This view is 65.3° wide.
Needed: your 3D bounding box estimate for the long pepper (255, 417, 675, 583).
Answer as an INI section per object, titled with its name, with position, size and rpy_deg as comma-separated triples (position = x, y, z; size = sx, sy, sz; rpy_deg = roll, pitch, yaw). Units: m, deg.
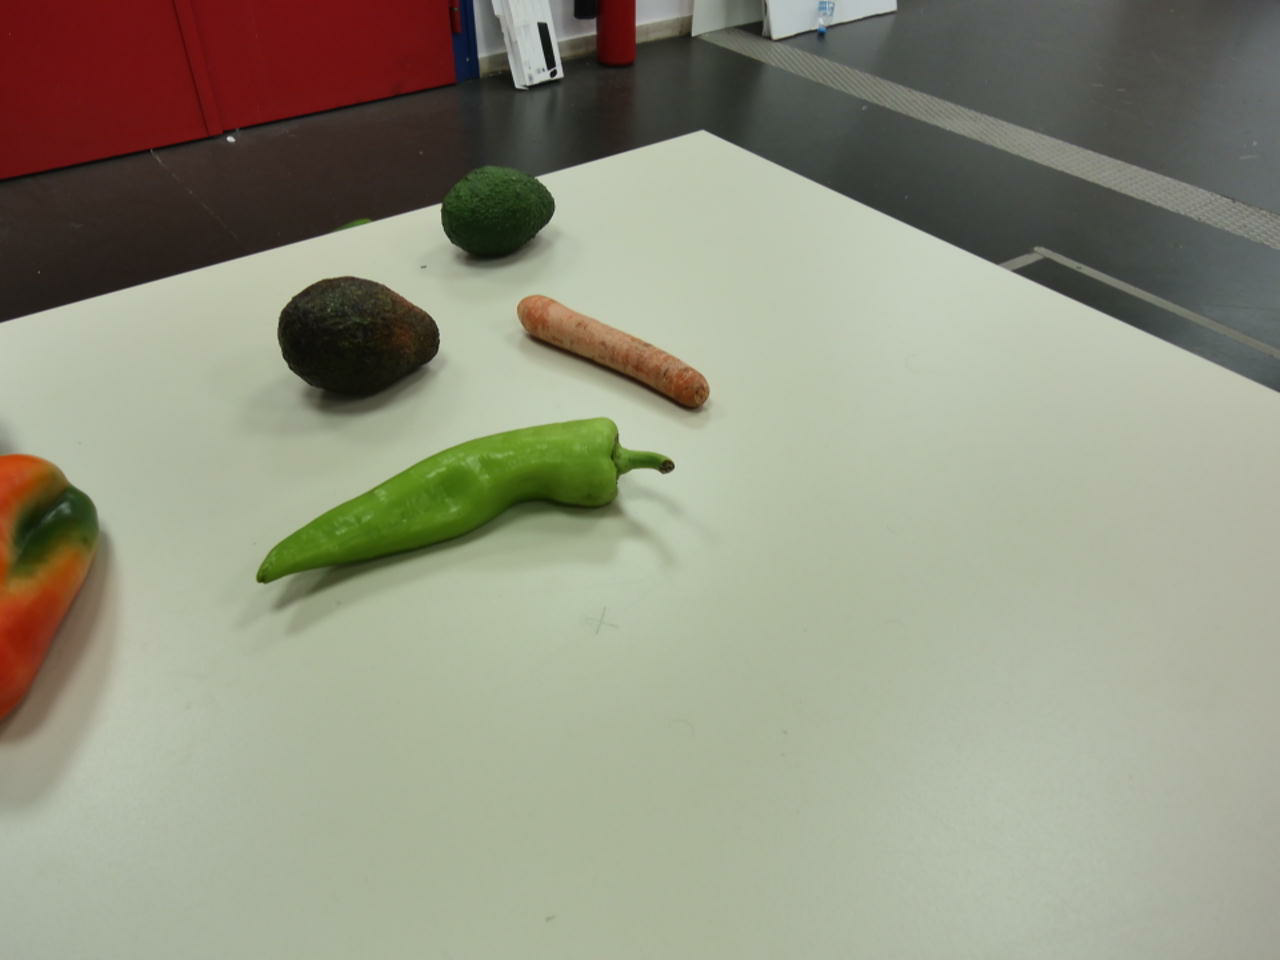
[long pepper]
position = -0.088, 0.006, 0.501
size = 0.204, 0.045, 0.065
rpy_deg = -13, 40, -17
